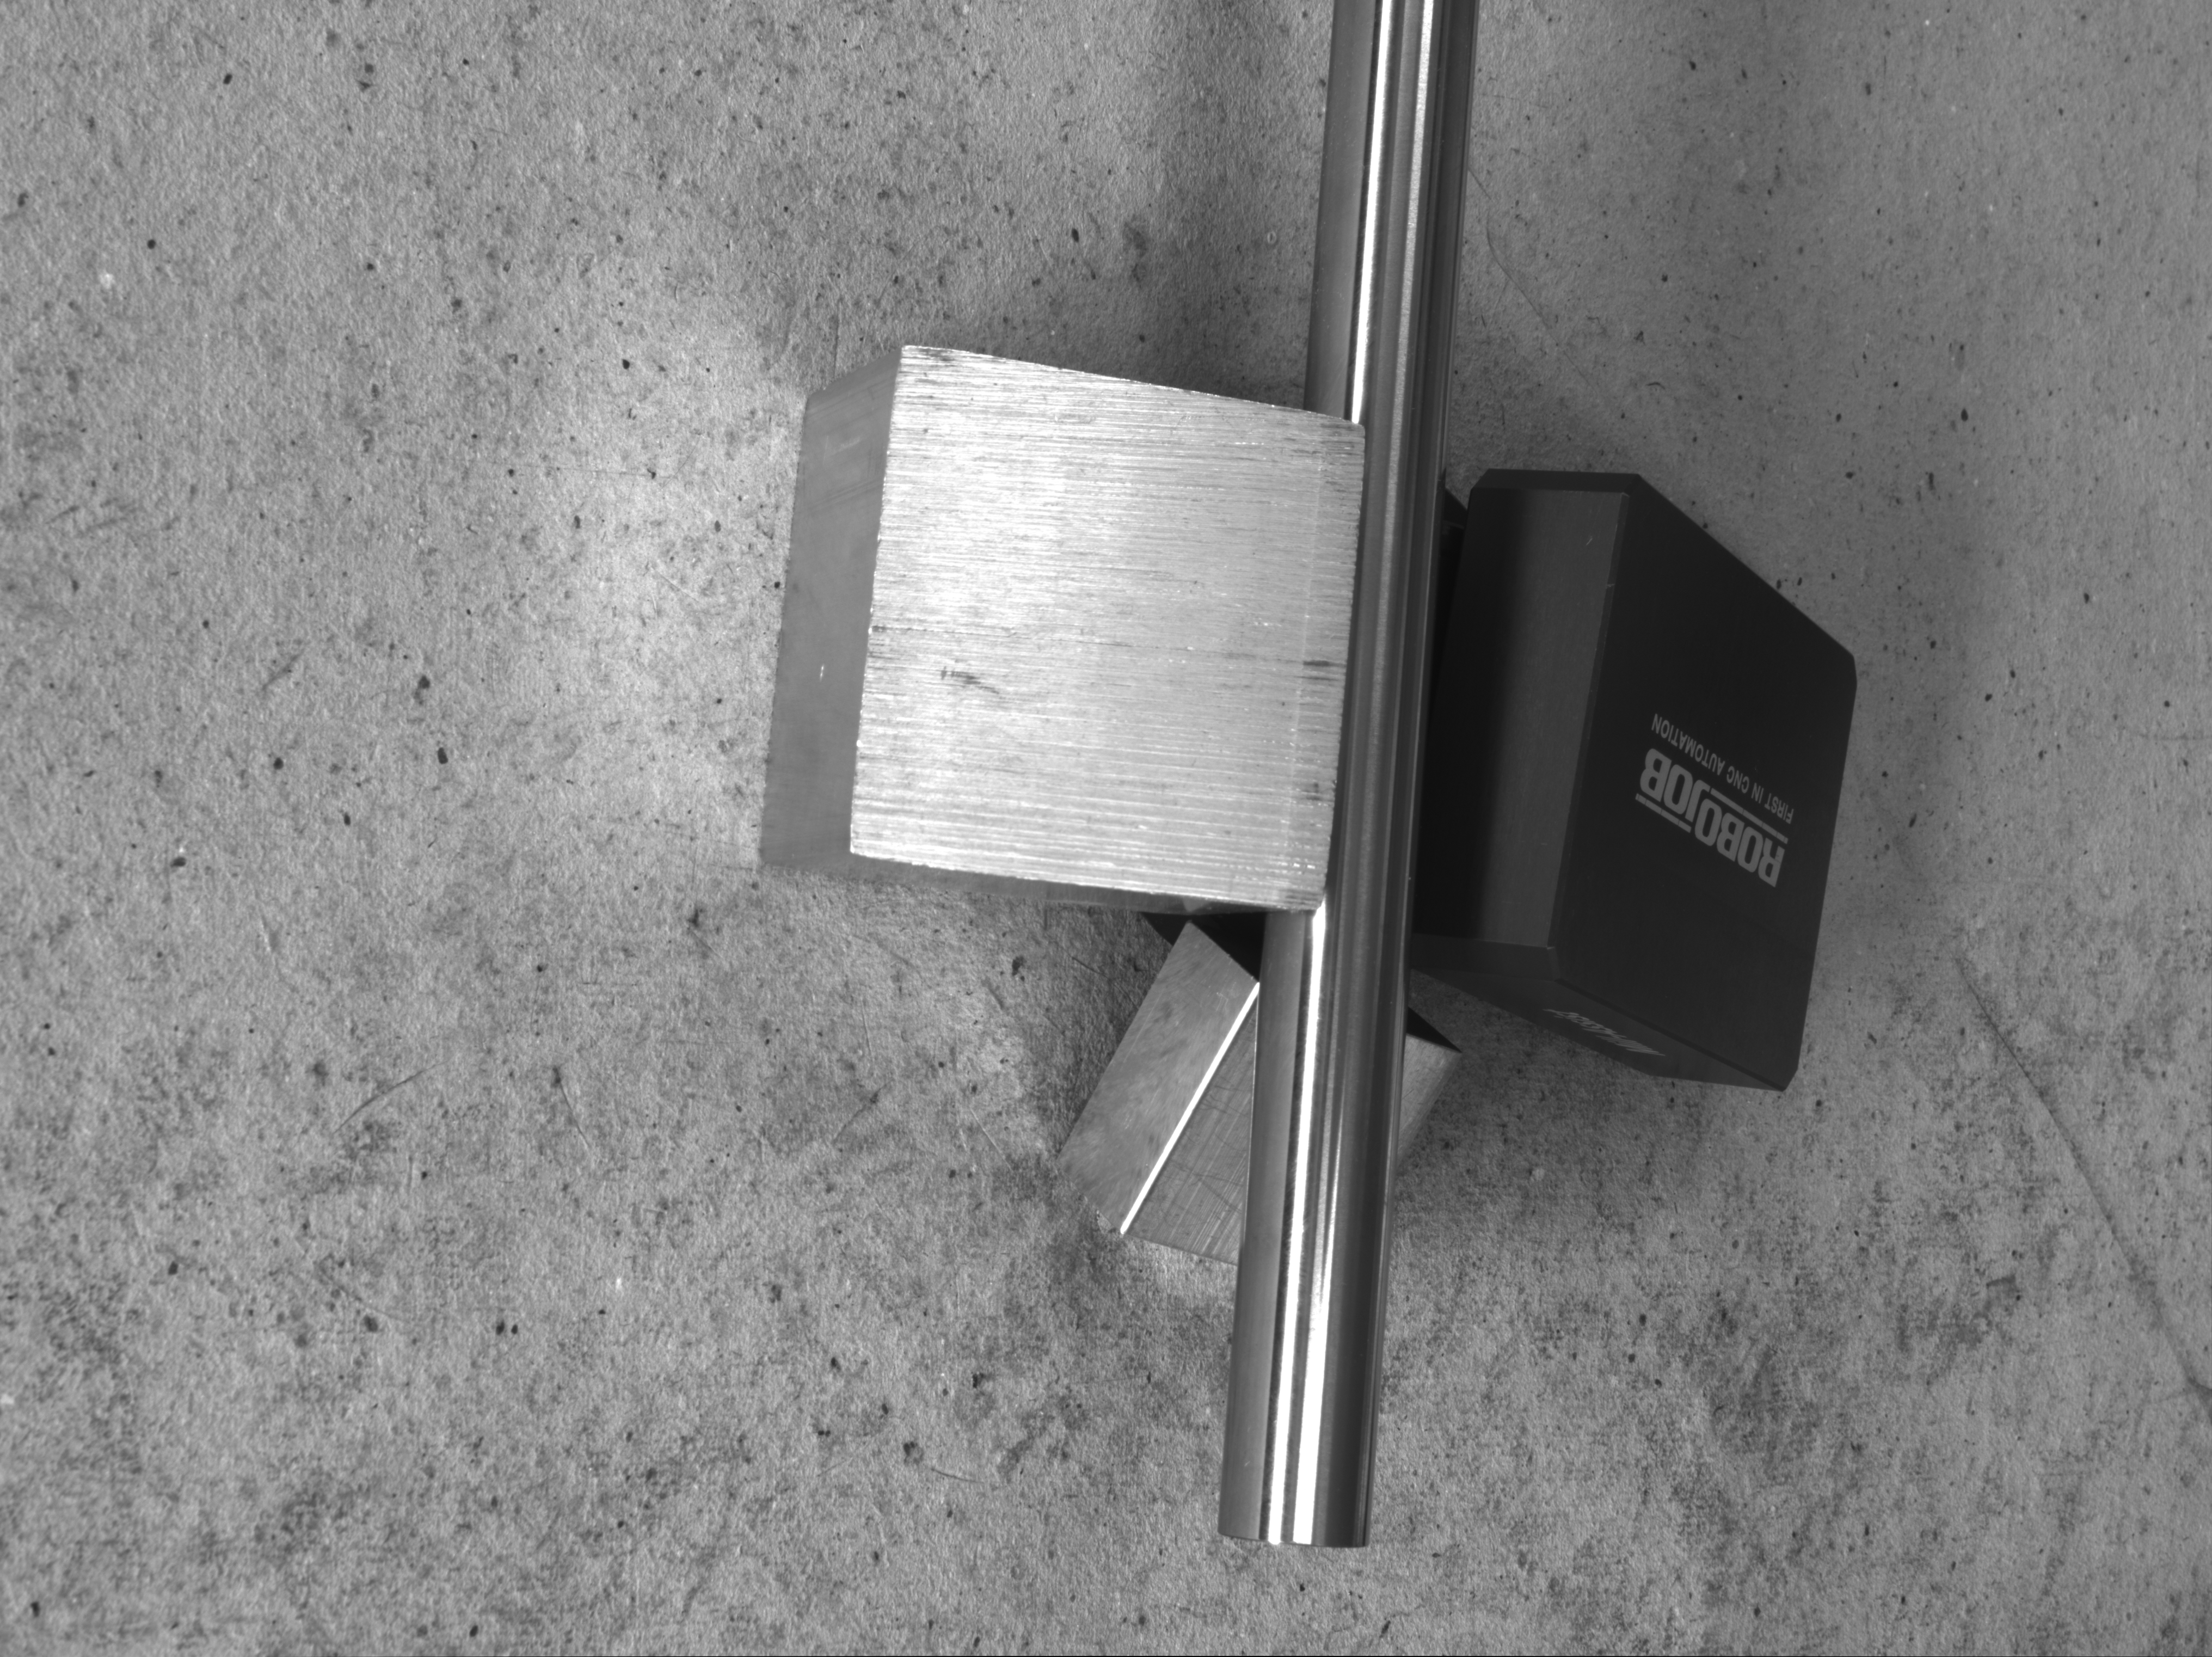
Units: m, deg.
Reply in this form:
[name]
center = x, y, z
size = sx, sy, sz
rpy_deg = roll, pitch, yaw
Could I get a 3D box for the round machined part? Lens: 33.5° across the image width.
[round machined part]
center = 0.045, -0.020, 0.663
size = 0.098, 0.042, 0.098
rpy_deg = 0, 90, -40

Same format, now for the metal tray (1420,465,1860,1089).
[metal tray]
center = 0.101, -0.006, 0.688
size = 0.130, 0.030, 0.090
rpy_deg = 24, 75, -58

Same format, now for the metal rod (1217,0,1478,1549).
[metal rod]
center = 0.043, -0.032, 0.618
size = 0.025, 0.025, 0.300
rpy_deg = 10, 82, -39

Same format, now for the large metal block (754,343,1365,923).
[large metal block]
center = -0.008, -0.029, 0.600
size = 0.080, 0.050, 0.080
rpy_deg = 7, 85, -21

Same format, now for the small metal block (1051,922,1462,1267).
[small metal block]
center = 0.027, 0.049, 0.646
size = 0.050, 0.025, 0.050
rpy_deg = 20, 103, -37
